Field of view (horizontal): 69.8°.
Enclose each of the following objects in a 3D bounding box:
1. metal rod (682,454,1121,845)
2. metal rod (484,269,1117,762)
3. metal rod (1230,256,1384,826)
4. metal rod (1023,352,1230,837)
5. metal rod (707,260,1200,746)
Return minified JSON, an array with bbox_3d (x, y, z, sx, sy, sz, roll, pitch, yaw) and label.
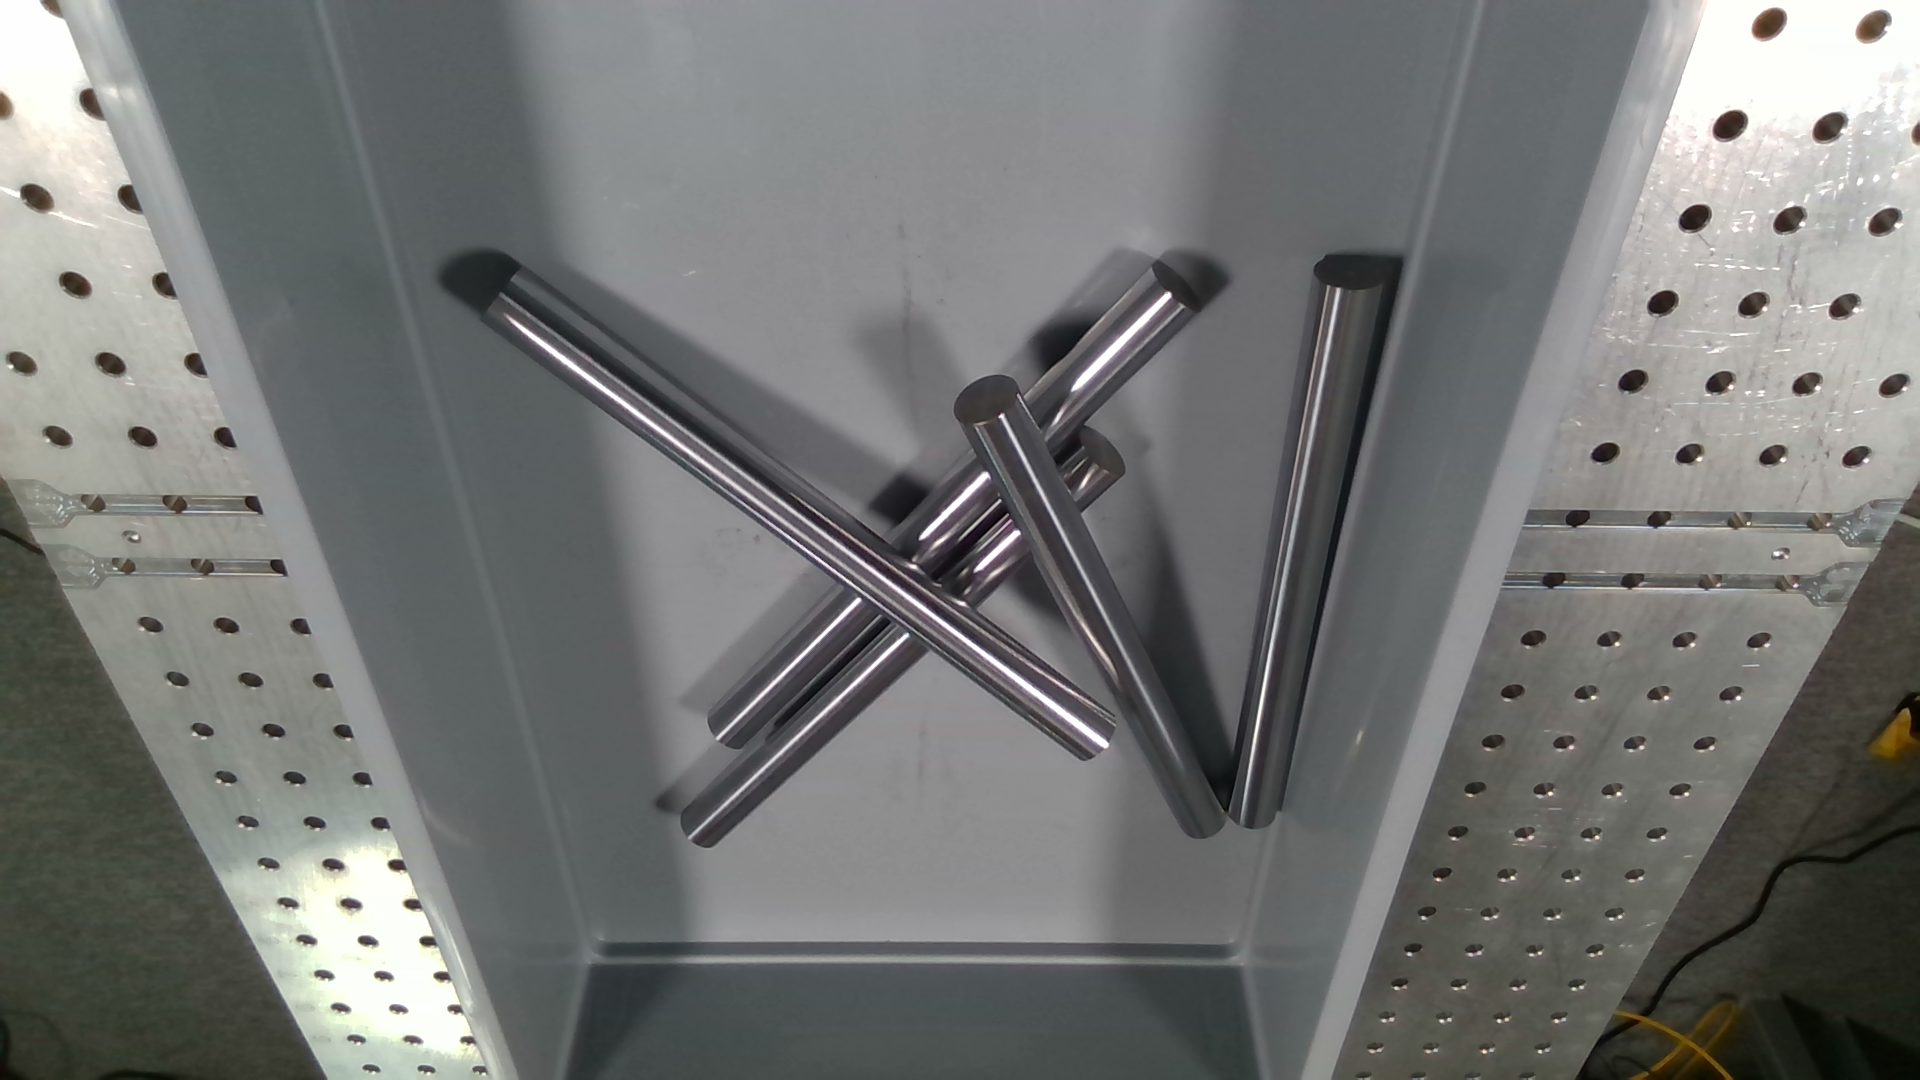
[{"bbox_3d":[-0.037,0.054,0.624,0.025,0.025,0.301,31,123,-24],"label":"metal rod"},{"bbox_3d":[-0.054,-0.002,0.550,0.300,0.025,0.025,38,121,-18],"label":"metal rod"},{"bbox_3d":[0.143,0.018,0.594,0.025,0.025,0.301,-1,130,1],"label":"metal rod"},{"bbox_3d":[0.080,0.040,0.592,0.025,0.025,0.301,-14,135,11],"label":"metal rod"},{"bbox_3d":[-0.015,-0.003,0.576,0.025,0.025,0.301,31,123,-24],"label":"metal rod"}]
